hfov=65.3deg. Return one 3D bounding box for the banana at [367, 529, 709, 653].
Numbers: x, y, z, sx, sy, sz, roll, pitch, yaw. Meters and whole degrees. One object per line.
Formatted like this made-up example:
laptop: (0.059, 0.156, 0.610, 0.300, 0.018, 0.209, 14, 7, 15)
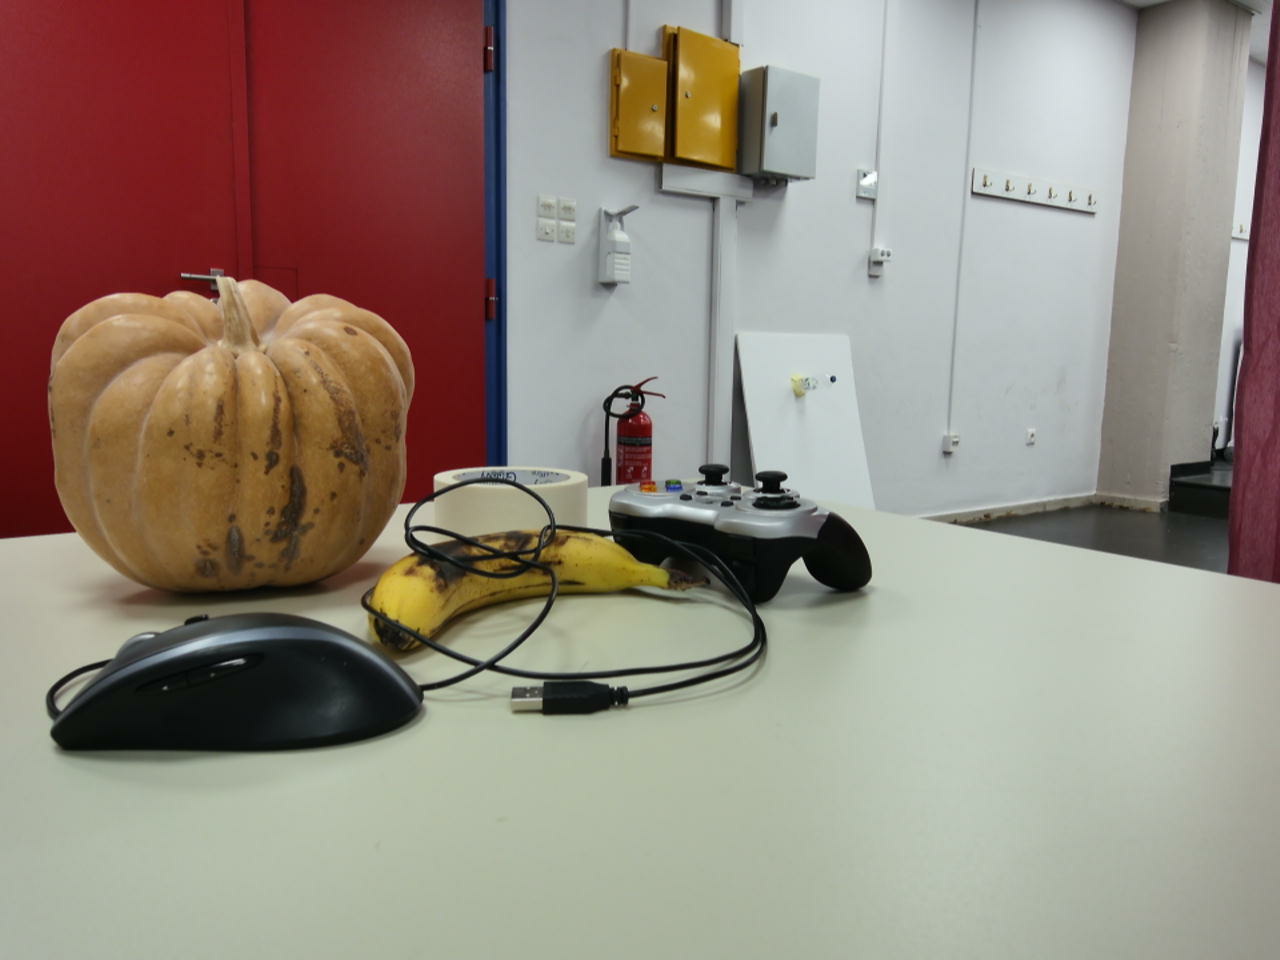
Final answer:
banana: (-0.065, 0.052, 0.524, 0.187, 0.039, 0.094, -5, 8, -39)
